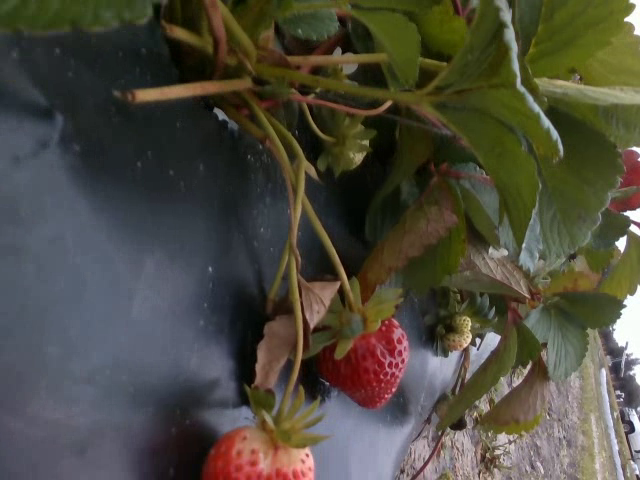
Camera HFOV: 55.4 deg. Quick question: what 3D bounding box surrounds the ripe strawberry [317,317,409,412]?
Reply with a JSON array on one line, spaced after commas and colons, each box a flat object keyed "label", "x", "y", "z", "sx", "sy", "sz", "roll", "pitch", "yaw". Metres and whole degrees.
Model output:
[{"label": "ripe strawberry", "x": 0.021, "y": 0.050, "z": 0.238, "sx": 0.044, "sy": 0.059, "sz": 0.042, "roll": -28, "pitch": 40, "yaw": -24}]
